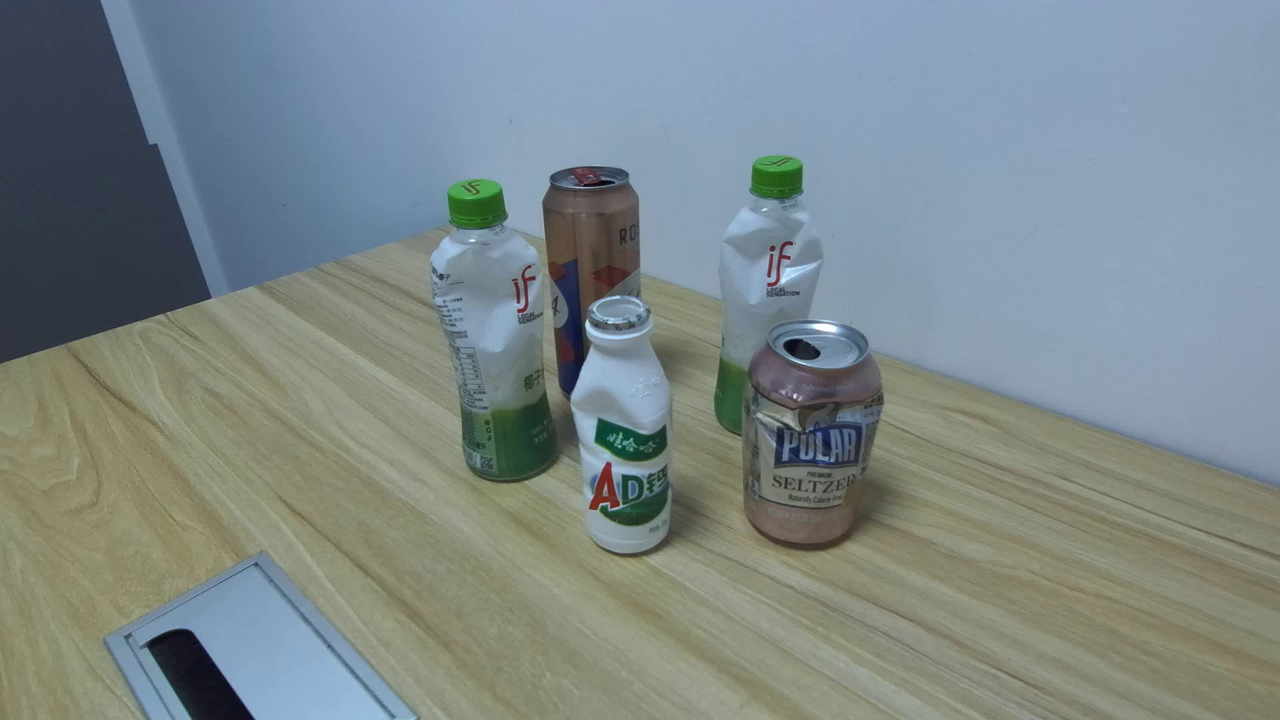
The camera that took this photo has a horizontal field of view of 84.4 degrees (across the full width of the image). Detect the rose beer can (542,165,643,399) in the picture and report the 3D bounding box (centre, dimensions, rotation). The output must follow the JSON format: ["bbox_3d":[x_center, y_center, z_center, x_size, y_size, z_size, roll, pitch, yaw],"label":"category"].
[{"bbox_3d":[-0.031,-0.050,0.519,0.068,0.169,0.068,0,28,0],"label":"rose beer can"}]

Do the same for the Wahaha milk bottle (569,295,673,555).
[{"bbox_3d":[-0.009,0.037,0.384,0.056,0.148,0.056,-1,33,1],"label":"Wahaha milk bottle"}]

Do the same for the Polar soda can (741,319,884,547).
[{"bbox_3d":[0.093,0.042,0.401,0.074,0.122,0.067,24,37,33],"label":"Polar soda can"}]

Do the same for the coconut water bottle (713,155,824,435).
[{"bbox_3d":[0.084,-0.039,0.467,0.067,0.187,0.067,0,29,0],"label":"coconut water bottle"}]

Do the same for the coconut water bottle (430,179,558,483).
[{"bbox_3d":[-0.089,-0.017,0.440,0.069,0.187,0.069,0,29,1],"label":"coconut water bottle"}]
